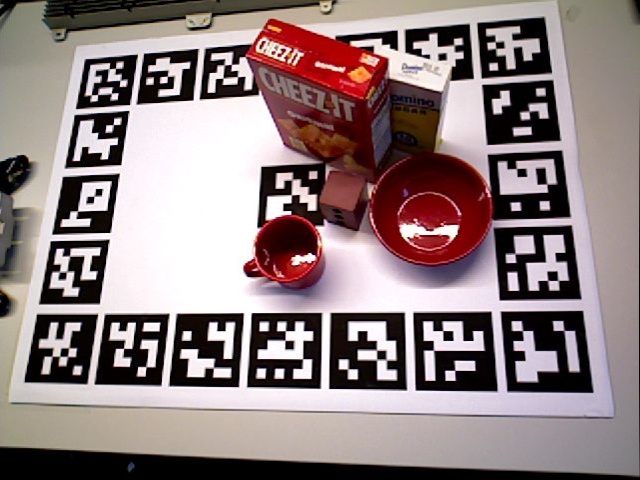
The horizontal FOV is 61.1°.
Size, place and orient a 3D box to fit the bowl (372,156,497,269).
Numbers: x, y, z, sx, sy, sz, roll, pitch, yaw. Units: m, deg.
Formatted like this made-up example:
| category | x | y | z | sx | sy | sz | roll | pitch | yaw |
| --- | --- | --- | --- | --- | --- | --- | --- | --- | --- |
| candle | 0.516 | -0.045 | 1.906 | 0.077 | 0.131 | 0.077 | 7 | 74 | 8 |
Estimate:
| category | x | y | z | sx | sy | sz | roll | pitch | yaw |
| --- | --- | --- | --- | --- | --- | --- | --- | --- | --- |
| bowl | 0.150 | -0.025 | 0.709 | 0.162 | 0.055 | 0.160 | -3 | 72 | 9 |

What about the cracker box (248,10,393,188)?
| category | x | y | z | sx | sy | sz | roll | pitch | yaw |
| --- | --- | --- | --- | --- | --- | --- | --- | --- | --- |
| cracker box | 0.008 | -0.170 | 0.710 | 0.164 | 0.216 | 0.071 | 28 | 74 | 17 |

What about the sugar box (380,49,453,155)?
| category | x | y | z | sx | sy | sz | roll | pitch | yaw |
| --- | --- | --- | --- | --- | --- | --- | --- | --- | --- |
| sugar box | 0.120 | -0.179 | 0.711 | 0.093 | 0.178 | 0.045 | 19 | 74 | 16 |

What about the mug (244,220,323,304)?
| category | x | y | z | sx | sy | sz | roll | pitch | yaw |
| --- | --- | --- | --- | --- | --- | --- | --- | --- | --- |
| mug | -0.054 | 0.036 | 0.719 | 0.117 | 0.082 | 0.092 | -10 | 62 | 8 |

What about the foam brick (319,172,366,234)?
| category | x | y | z | sx | sy | sz | roll | pitch | yaw |
| --- | --- | --- | --- | --- | --- | --- | --- | --- | --- |
| foam brick | 0.031 | -0.050 | 0.743 | 0.053 | 0.079 | 0.051 | 14 | 72 | 14 |
